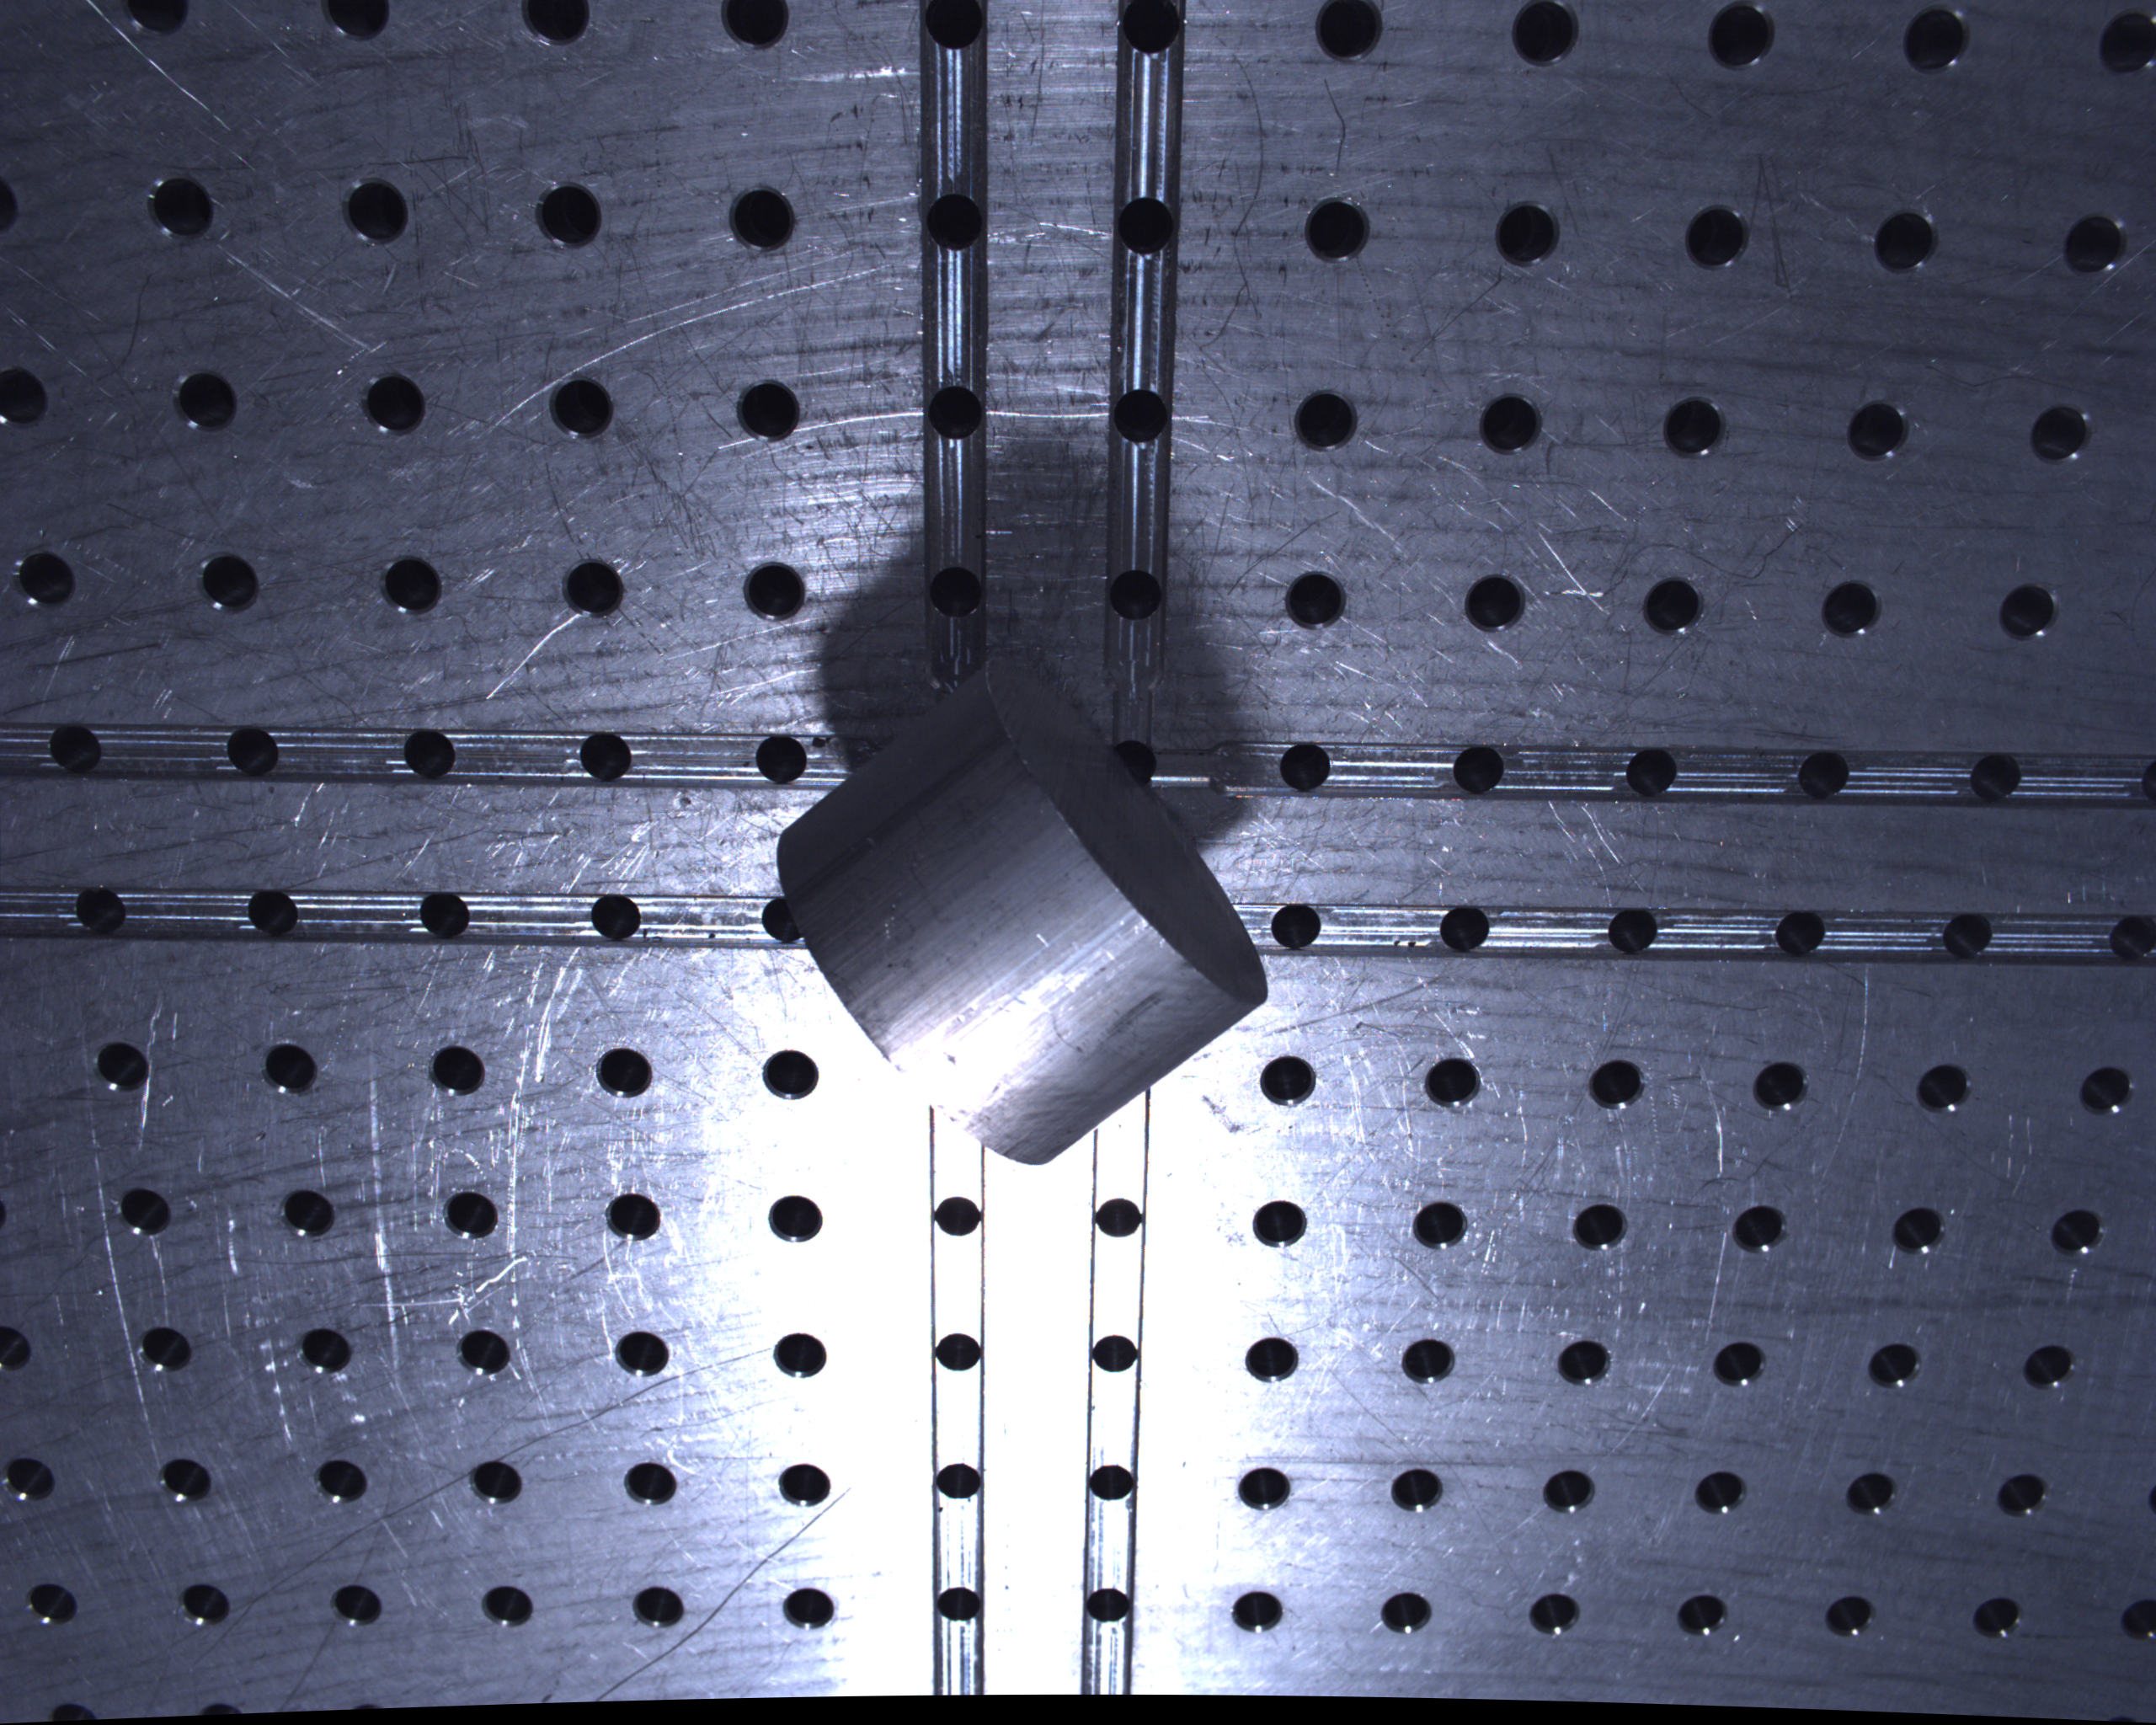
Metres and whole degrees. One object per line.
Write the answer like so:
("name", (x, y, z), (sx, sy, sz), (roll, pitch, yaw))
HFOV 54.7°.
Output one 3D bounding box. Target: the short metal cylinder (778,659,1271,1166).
("short metal cylinder", (-0.009, 0.009, 0.387), (0.050, 0.080, 0.080), (-38, 106, 13))
